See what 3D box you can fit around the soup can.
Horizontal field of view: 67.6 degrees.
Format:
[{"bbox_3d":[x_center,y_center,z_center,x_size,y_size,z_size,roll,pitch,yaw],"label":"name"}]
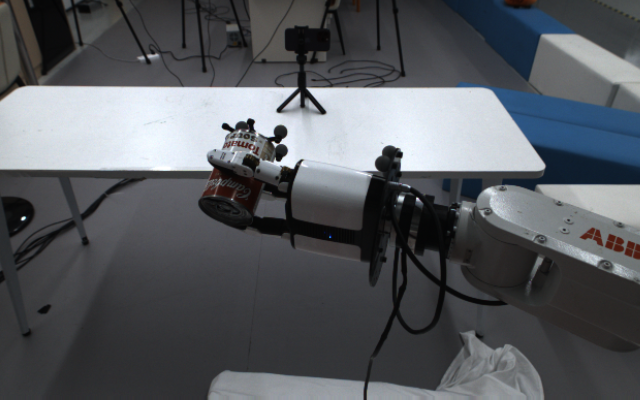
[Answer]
[{"bbox_3d":[-0.098,-0.028,0.597,0.067,0.067,0.101,9,60,10],"label":"soup can"}]
